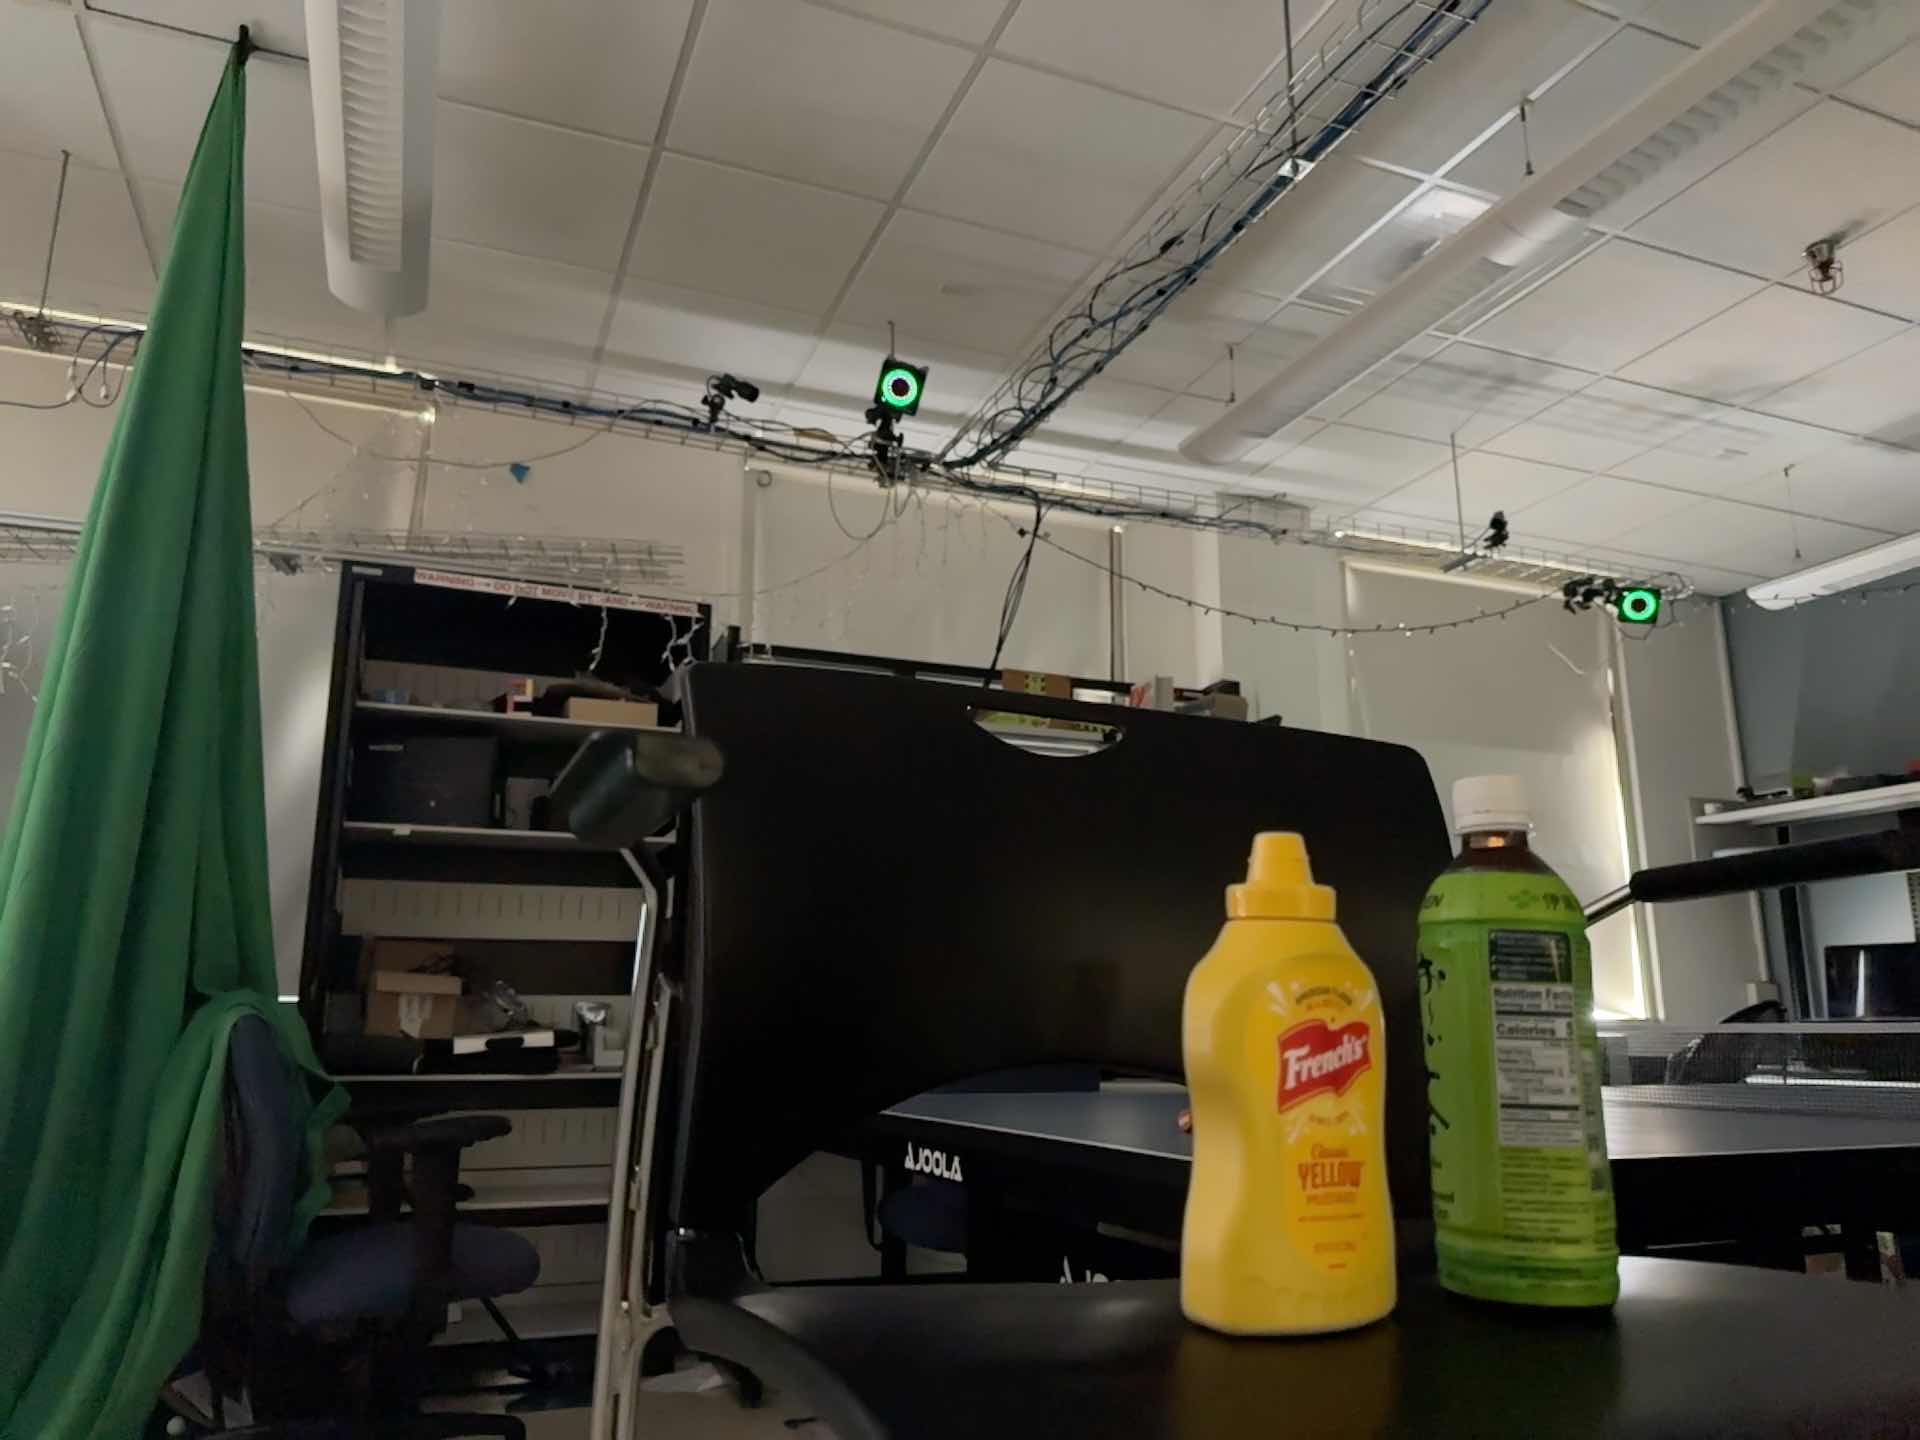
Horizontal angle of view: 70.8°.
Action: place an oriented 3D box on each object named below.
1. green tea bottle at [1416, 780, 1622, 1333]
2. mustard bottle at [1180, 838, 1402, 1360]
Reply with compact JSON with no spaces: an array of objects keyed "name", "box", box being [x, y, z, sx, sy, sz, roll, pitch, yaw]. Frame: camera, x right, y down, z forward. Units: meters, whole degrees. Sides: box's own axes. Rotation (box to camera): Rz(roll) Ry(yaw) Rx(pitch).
[{"name":"green tea bottle","box":[0.225,0.131,0.552,0.073,0.212,0.073,2,-10,0]},{"name":"mustard bottle","box":[0.123,0.137,0.512,0.092,0.184,0.054,6,-11,-25]}]
